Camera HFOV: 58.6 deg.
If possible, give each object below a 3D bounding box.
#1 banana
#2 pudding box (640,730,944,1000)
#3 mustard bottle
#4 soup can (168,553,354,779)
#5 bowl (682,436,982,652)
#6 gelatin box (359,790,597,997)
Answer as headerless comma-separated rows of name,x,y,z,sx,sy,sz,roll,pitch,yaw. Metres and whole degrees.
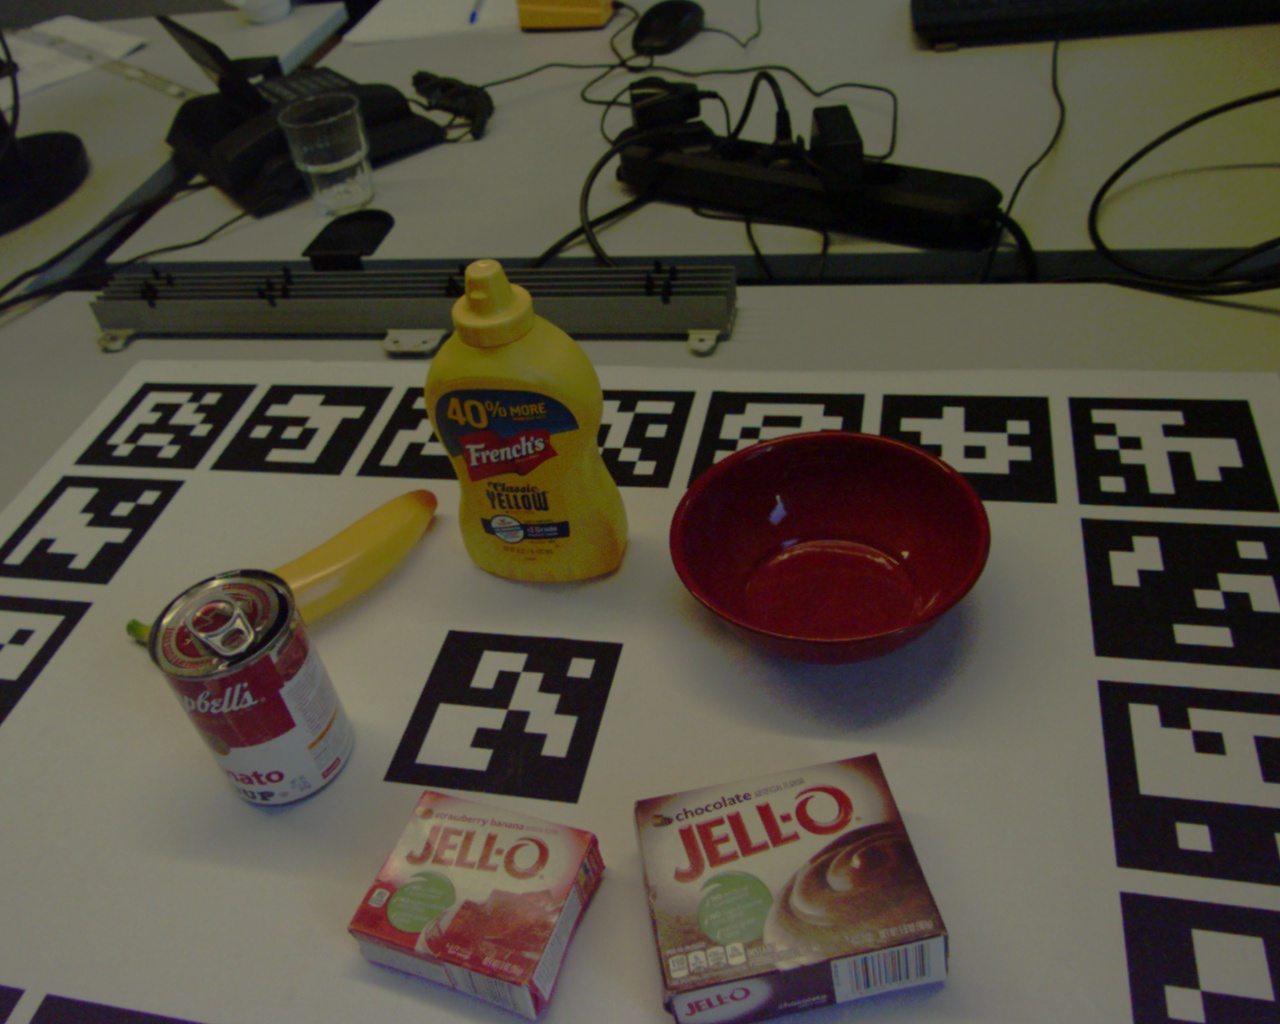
banana,-0.206,0.035,0.707,0.196,0.038,0.075,-30,35,-21
pudding box,0.064,0.156,0.511,0.113,0.038,0.091,-14,46,-4
mustard bottle,-0.066,-0.053,0.643,0.097,0.190,0.058,3,40,14
soup can,-0.192,0.081,0.590,0.068,0.101,0.068,-4,40,3
bowl,0.107,0.026,0.641,0.162,0.055,0.162,-7,40,5
gelatin box,-0.073,0.173,0.527,0.090,0.030,0.073,7,47,20
